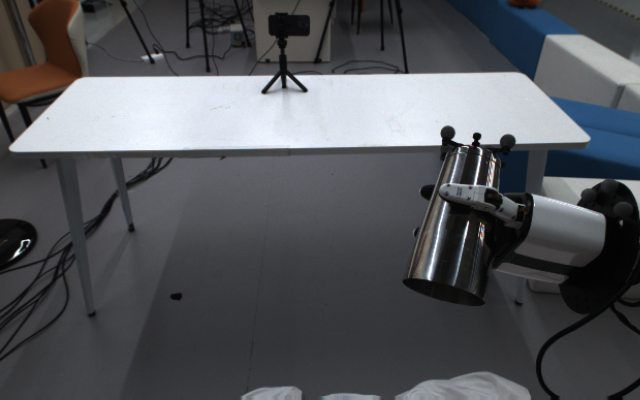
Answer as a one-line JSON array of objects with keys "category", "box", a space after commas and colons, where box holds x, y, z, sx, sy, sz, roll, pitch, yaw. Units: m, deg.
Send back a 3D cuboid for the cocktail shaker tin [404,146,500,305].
[{"category": "cocktail shaker tin", "box": [0.162, 0.026, 0.561, 0.093, 0.093, 0.170, 13, 70, 15]}]
